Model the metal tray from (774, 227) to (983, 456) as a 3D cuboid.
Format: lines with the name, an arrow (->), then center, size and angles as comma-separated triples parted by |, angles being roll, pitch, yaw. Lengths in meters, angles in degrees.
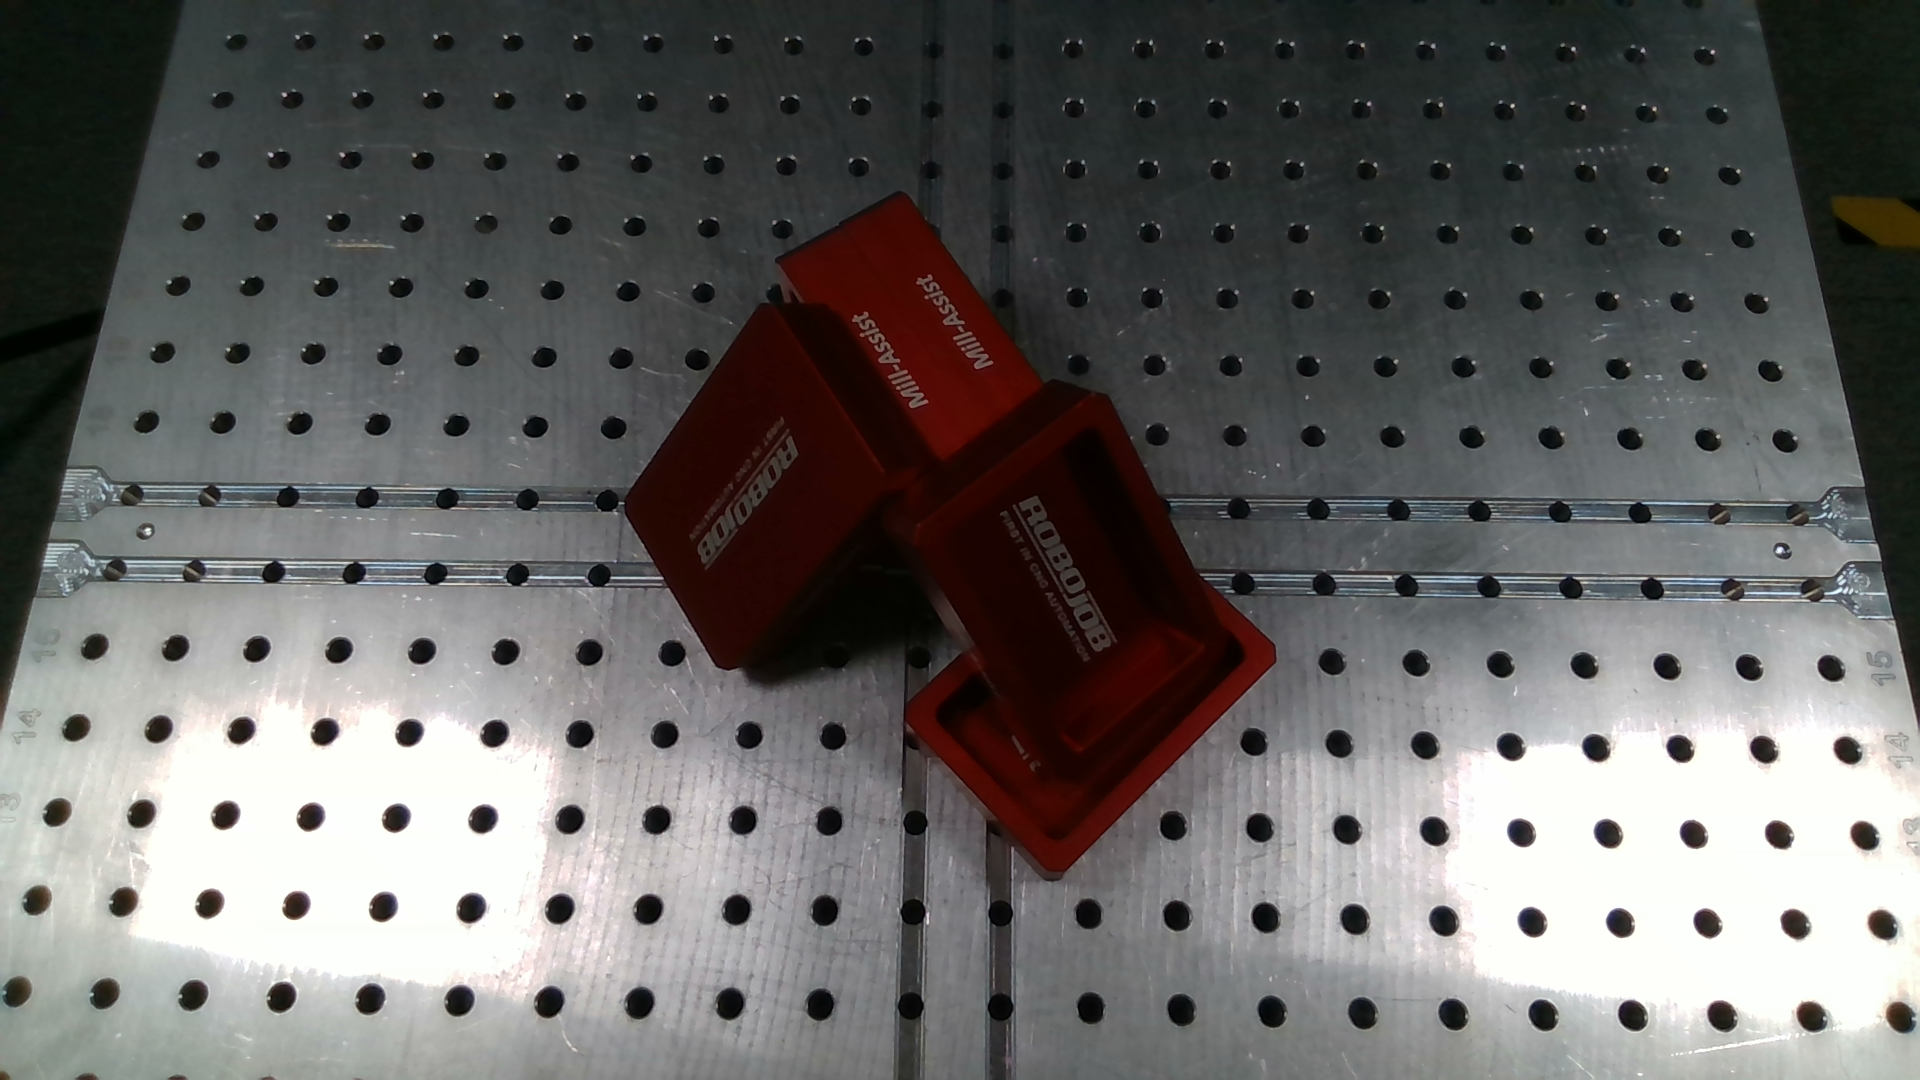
metal tray -> -0.027, -0.055, 0.574 | 0.030, 0.090, 0.130 | -31, 73, -11

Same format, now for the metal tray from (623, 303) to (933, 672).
metal tray -> -0.077, -0.019, 0.548 | 0.030, 0.130, 0.090 | -14, 64, -49

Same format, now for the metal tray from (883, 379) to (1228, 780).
metal tray -> 0.039, 0.017, 0.524 | 0.090, 0.030, 0.130 | -38, 119, -12

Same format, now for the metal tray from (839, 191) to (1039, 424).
metal tray -> -0.002, -0.071, 0.581 | 0.030, 0.090, 0.130 | -31, 73, -11

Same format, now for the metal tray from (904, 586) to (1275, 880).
metal tray -> 0.052, 0.062, 0.564 | 0.130, 0.030, 0.090 | -42, 76, -13
